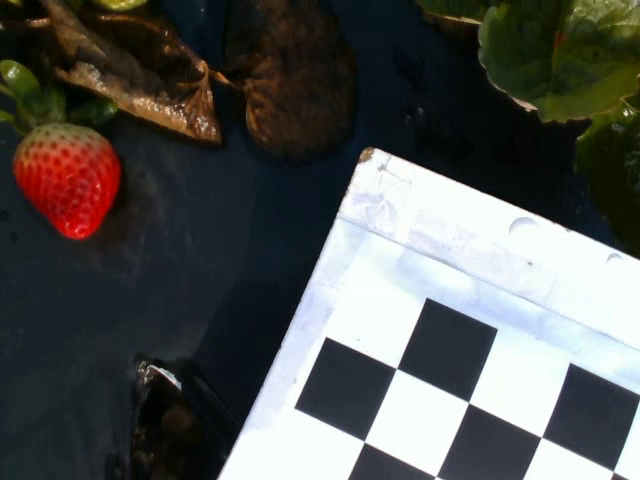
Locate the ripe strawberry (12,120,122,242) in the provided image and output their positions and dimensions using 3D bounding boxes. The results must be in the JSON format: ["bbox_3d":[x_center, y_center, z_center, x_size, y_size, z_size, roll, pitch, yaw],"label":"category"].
[{"bbox_3d":[-0.081,-0.018,0.202,0.035,0.043,0.029,-15,-7,-3],"label":"ripe strawberry"}]
